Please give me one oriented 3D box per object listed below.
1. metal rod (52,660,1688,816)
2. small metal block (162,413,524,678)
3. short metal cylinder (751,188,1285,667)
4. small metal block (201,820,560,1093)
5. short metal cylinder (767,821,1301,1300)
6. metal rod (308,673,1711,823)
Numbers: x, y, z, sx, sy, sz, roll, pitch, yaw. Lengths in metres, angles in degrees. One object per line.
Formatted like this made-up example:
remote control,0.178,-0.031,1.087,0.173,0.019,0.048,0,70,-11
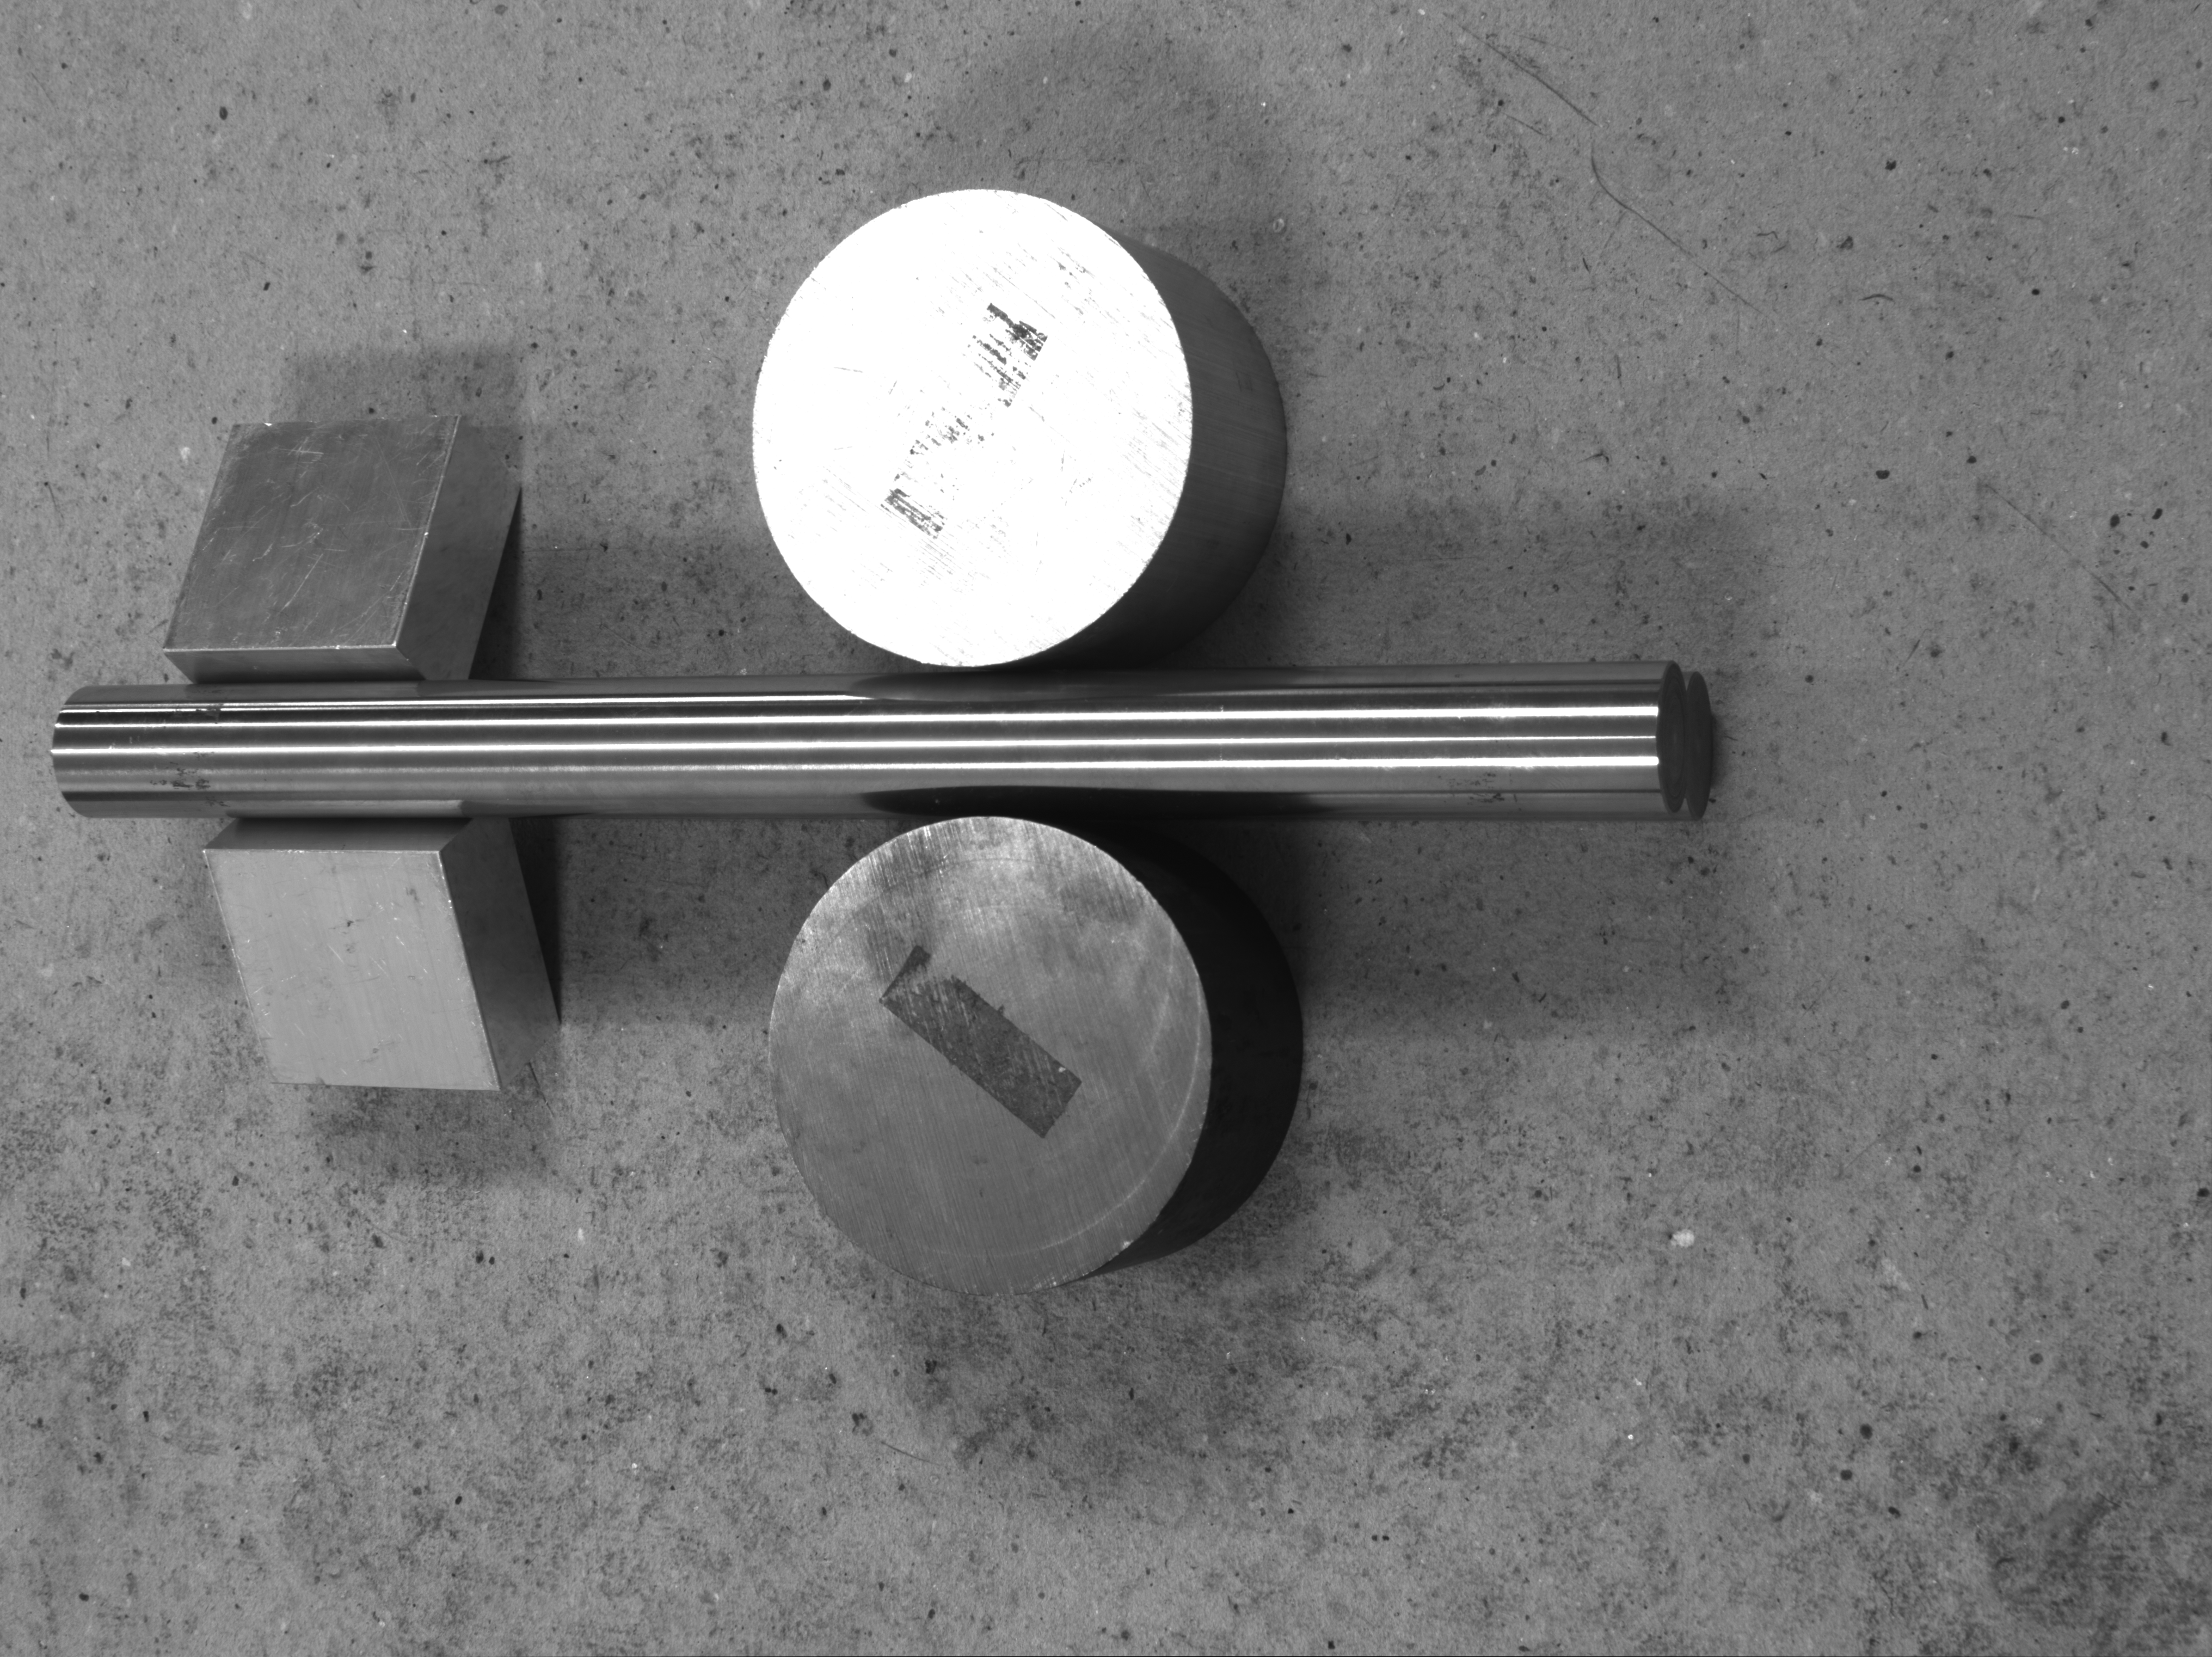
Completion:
metal rod,-0.050,-0.015,0.639,0.299,0.025,0.025,0,90,20
small metal block,-0.142,-0.049,0.689,0.050,0.025,0.050,0,63,20
short metal cylinder,-0.015,-0.067,0.639,0.080,0.050,0.080,0,90,20
small metal block,-0.135,0.021,0.685,0.050,0.025,0.050,0,117,20
short metal cylinder,-0.012,0.039,0.638,0.080,0.050,0.080,0,90,20
metal rod,-0.042,-0.014,0.662,0.299,0.025,0.025,0,90,20
